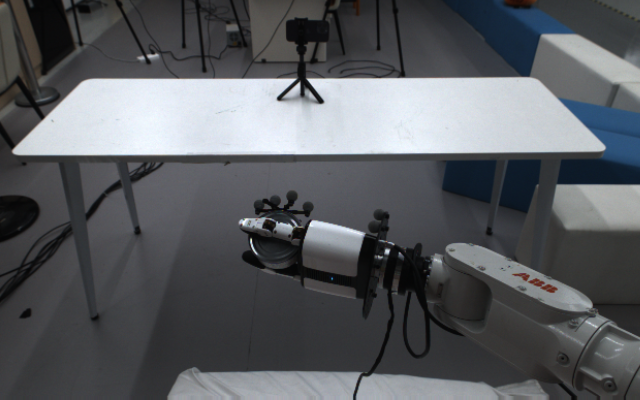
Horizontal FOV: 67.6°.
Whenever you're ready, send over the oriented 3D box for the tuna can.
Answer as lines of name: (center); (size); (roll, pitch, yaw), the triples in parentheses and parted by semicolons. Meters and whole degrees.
tuna can: (-0.064, 0.062, 0.740); (0.085, 0.034, 0.085); (-3, 61, 6)
